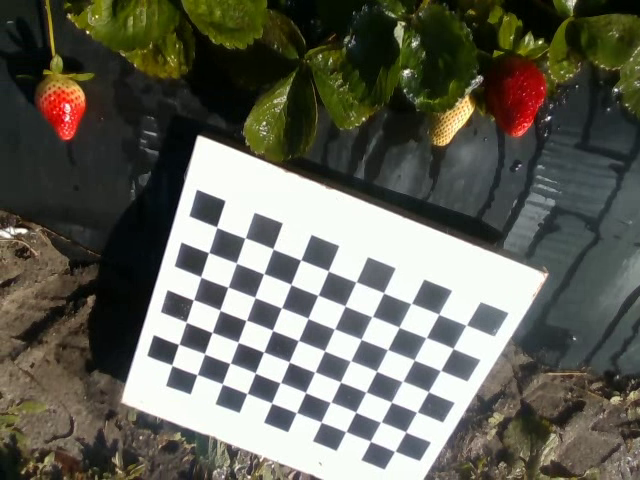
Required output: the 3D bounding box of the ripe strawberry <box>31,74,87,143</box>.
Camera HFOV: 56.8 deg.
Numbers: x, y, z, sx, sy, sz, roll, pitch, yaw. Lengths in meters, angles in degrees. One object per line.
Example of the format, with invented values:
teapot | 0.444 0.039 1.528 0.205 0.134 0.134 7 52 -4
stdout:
ripe strawberry | -0.189 -0.096 0.438 0.039 0.053 0.040 1 6 7
